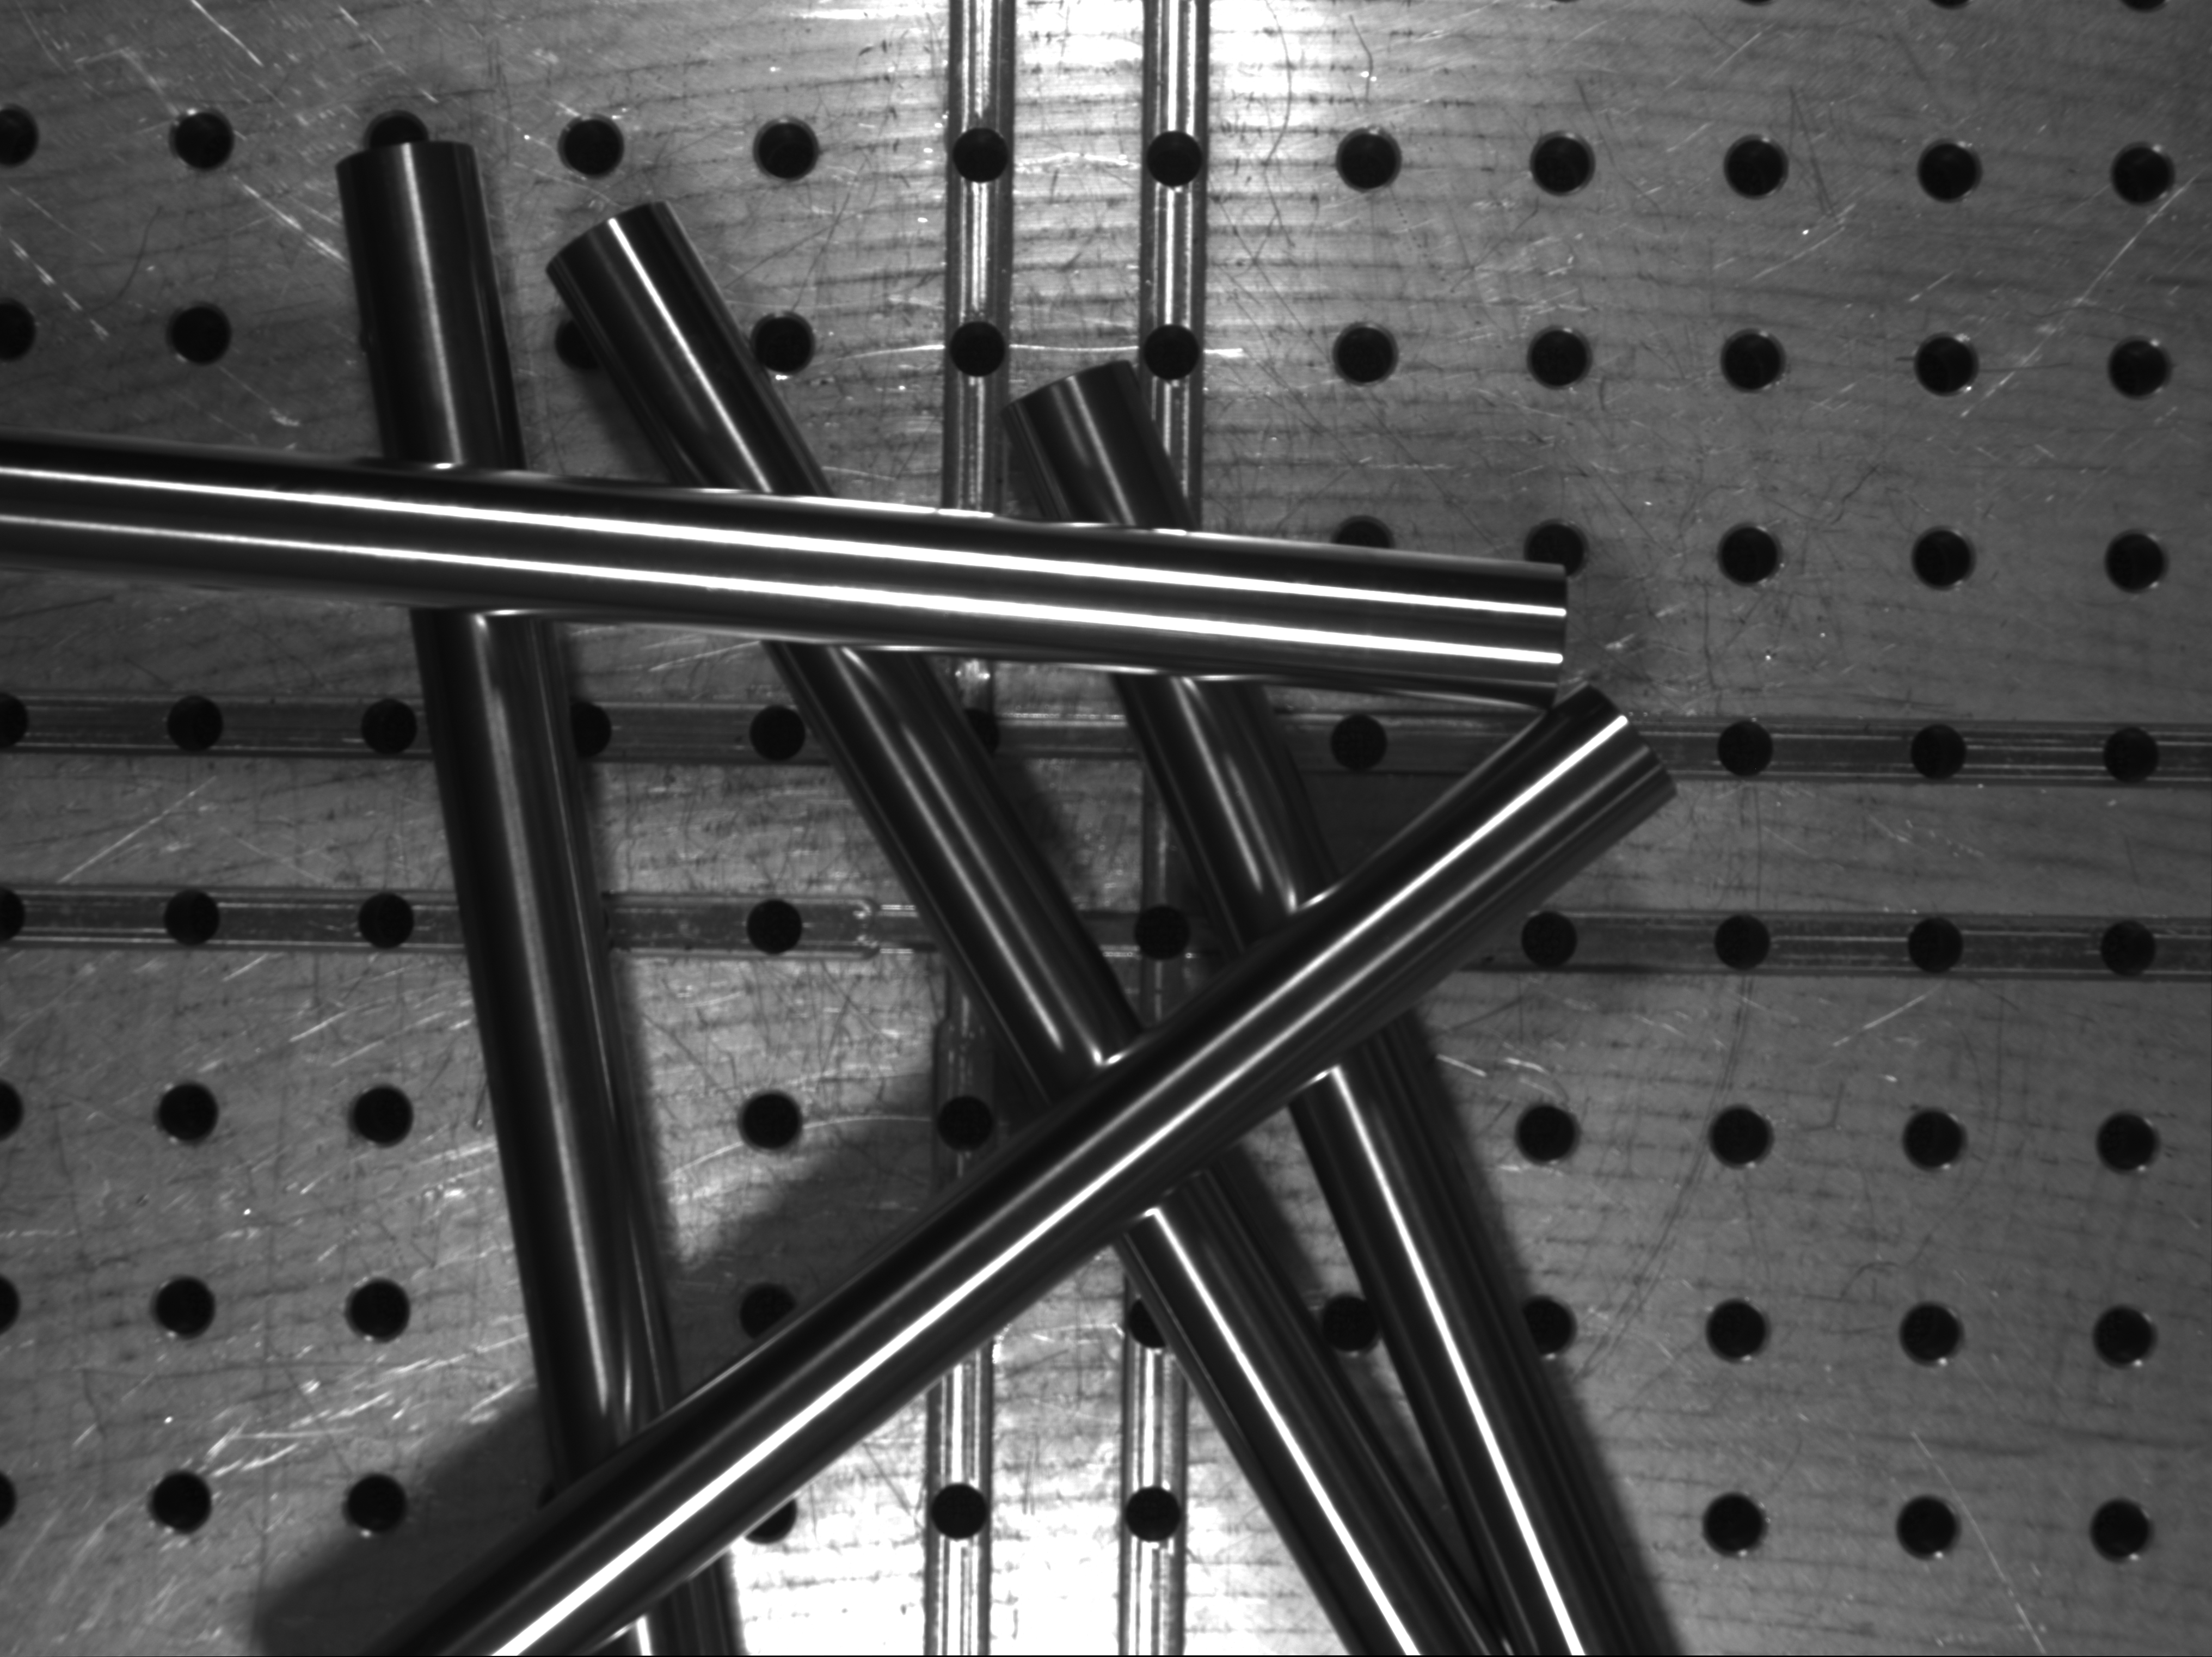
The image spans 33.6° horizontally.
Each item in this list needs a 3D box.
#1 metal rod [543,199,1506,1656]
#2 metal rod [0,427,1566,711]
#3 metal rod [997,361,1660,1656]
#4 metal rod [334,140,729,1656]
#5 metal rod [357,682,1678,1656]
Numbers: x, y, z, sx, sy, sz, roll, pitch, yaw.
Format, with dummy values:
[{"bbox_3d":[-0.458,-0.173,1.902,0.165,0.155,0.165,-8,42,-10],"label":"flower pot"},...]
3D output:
[{"bbox_3d":[-0.013,0.025,0.647,0.025,0.025,0.300,-30,90,0],"label":"metal rod"},{"bbox_3d":[-0.073,-0.045,0.622,0.300,0.025,0.025,5,90,-1],"label":"metal rod"},{"bbox_3d":[0.049,0.061,0.648,0.025,0.025,0.300,-22,90,0],"label":"metal rod"},{"bbox_3d":[-0.099,0.030,0.646,0.025,0.025,0.300,-10,90,0],"label":"metal rod"},{"bbox_3d":[-0.028,0.078,0.622,0.300,0.025,0.025,-38,90,0],"label":"metal rod"}]
